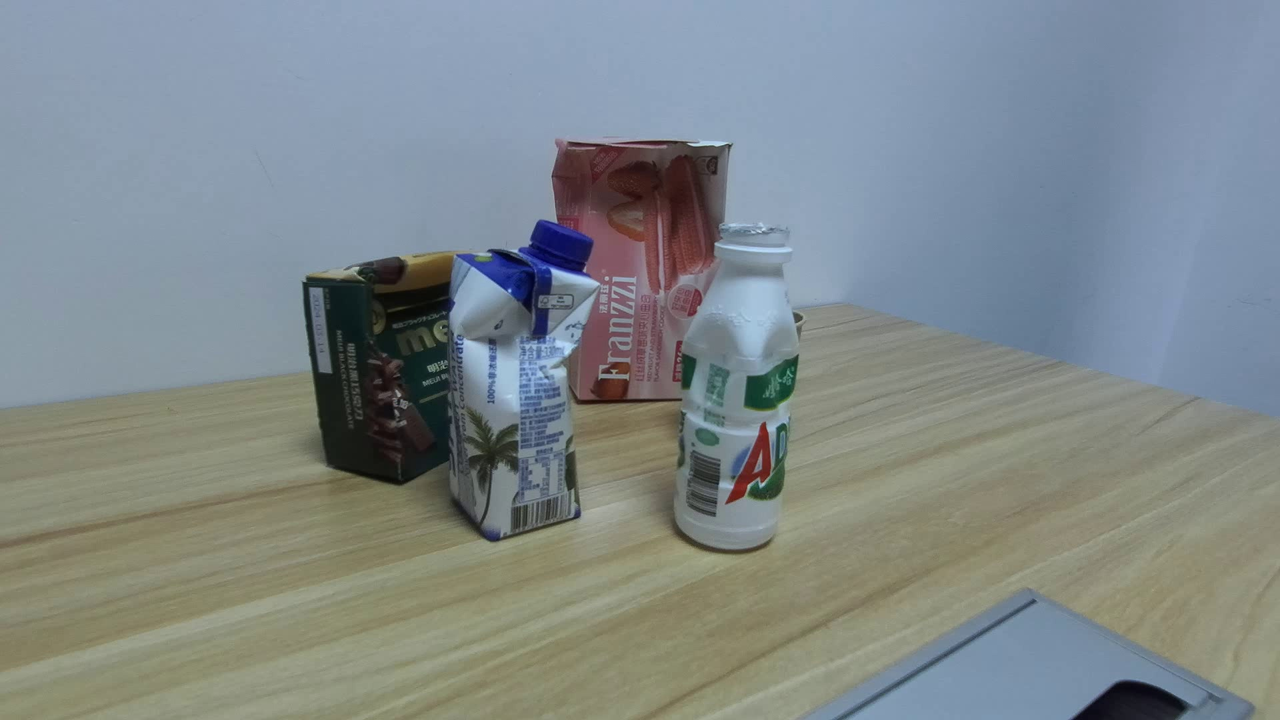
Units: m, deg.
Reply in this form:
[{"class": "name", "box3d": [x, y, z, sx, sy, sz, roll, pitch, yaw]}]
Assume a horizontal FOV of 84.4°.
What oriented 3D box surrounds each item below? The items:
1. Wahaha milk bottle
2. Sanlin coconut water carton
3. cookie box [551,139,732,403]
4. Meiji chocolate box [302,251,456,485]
[{"class": "Wahaha milk bottle", "box3d": [0.046, 0.013, 0.330, 0.055, 0.149, 0.055, 2, 15, 0]}, {"class": "Sanlin coconut water carton", "box3d": [-0.057, 0.008, 0.339, 0.070, 0.143, 0.060, -7, 20, -33]}, {"class": "cookie box", "box3d": [-0.002, -0.062, 0.506, 0.118, 0.184, 0.055, 0, 17, -6]}, {"class": "Meiji chocolate box", "box3d": [-0.135, 0.003, 0.420, 0.058, 0.110, 0.113, 4, 14, 23]}]
